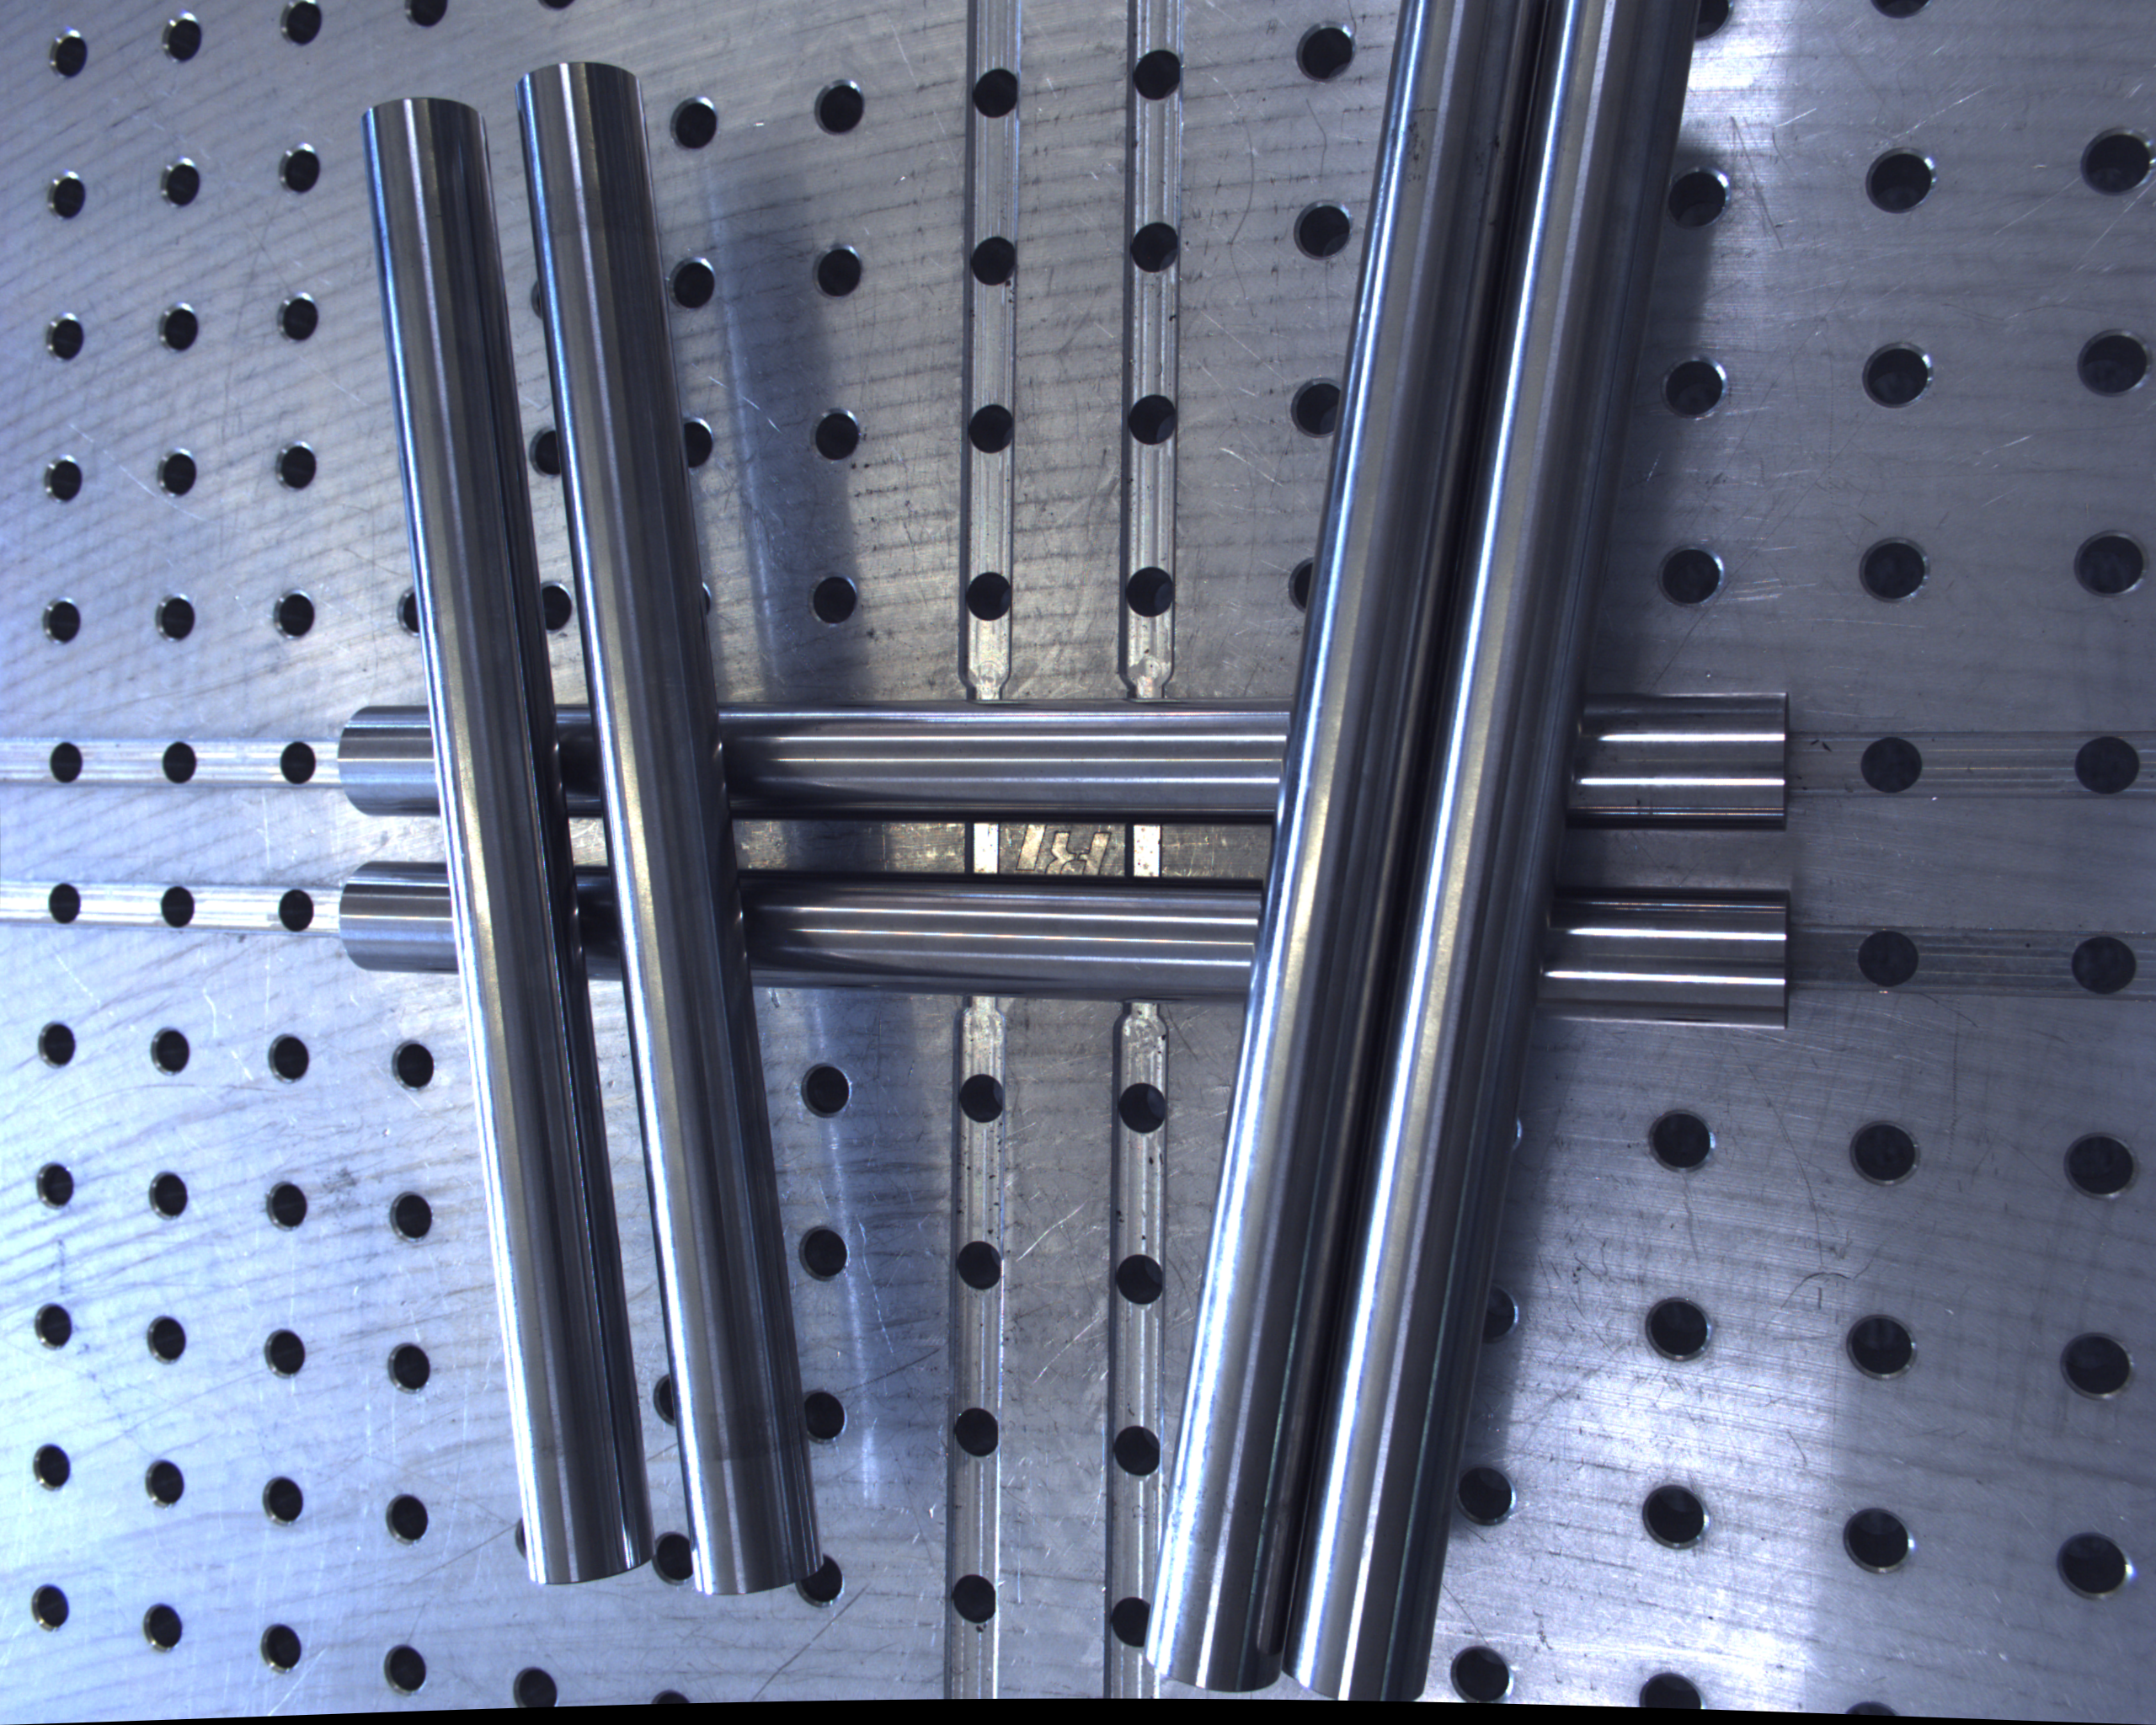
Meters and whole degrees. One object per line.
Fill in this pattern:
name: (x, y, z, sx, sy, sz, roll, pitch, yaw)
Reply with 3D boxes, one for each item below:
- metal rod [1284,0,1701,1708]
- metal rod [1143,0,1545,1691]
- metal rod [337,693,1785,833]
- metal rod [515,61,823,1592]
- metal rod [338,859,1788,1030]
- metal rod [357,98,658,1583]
metal rod: (0.071, -0.004, 0.362, 0.025, 0.025, 0.298, 10, 93, 20)
metal rod: (0.047, -0.003, 0.371, 0.025, 0.025, 0.298, 10, 93, 20)
metal rod: (-0.017, -0.020, 0.420, 0.301, 0.025, 0.025, 1, 91, 20)
metal rod: (-0.082, -0.009, 0.416, 0.025, 0.025, 0.299, -8, 87, 20)
metal rod: (-0.016, 0.014, 0.419, 0.301, 0.025, 0.025, 1, 91, 20)
metal rod: (-0.117, -0.006, 0.429, 0.025, 0.025, 0.299, -9, 87, 20)
